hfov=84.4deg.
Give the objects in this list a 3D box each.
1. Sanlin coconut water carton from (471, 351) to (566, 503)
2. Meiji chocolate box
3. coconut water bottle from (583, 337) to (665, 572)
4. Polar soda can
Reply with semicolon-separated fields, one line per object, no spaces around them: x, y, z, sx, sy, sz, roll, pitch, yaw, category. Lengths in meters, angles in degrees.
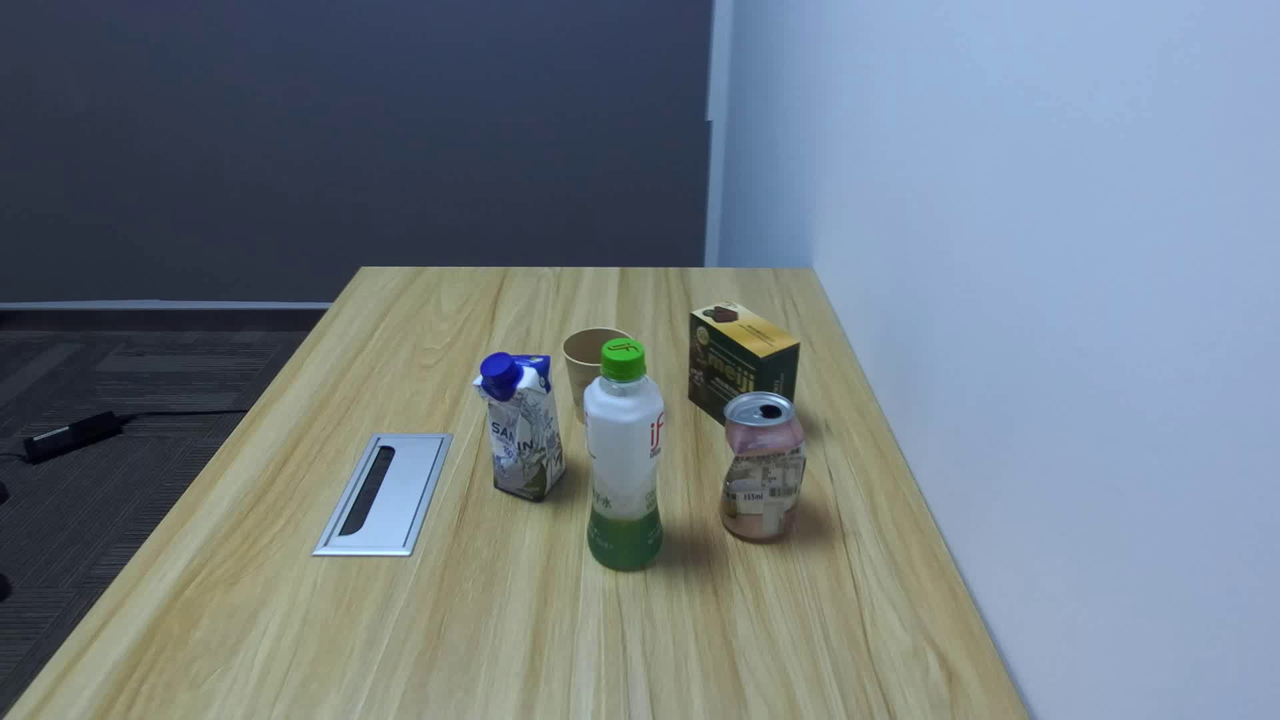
-0.104;0.050;0.621;0.060;0.144;0.070;13;35;23;Sanlin coconut water carton
0.101;0.013;0.710;0.056;0.109;0.109;-18;36;-28;Meiji chocolate box
-0.012;0.072;0.538;0.063;0.189;0.063;0;31;0;coconut water bottle
0.096;0.087;0.587;0.067;0.122;0.070;-11;31;-11;Polar soda can
